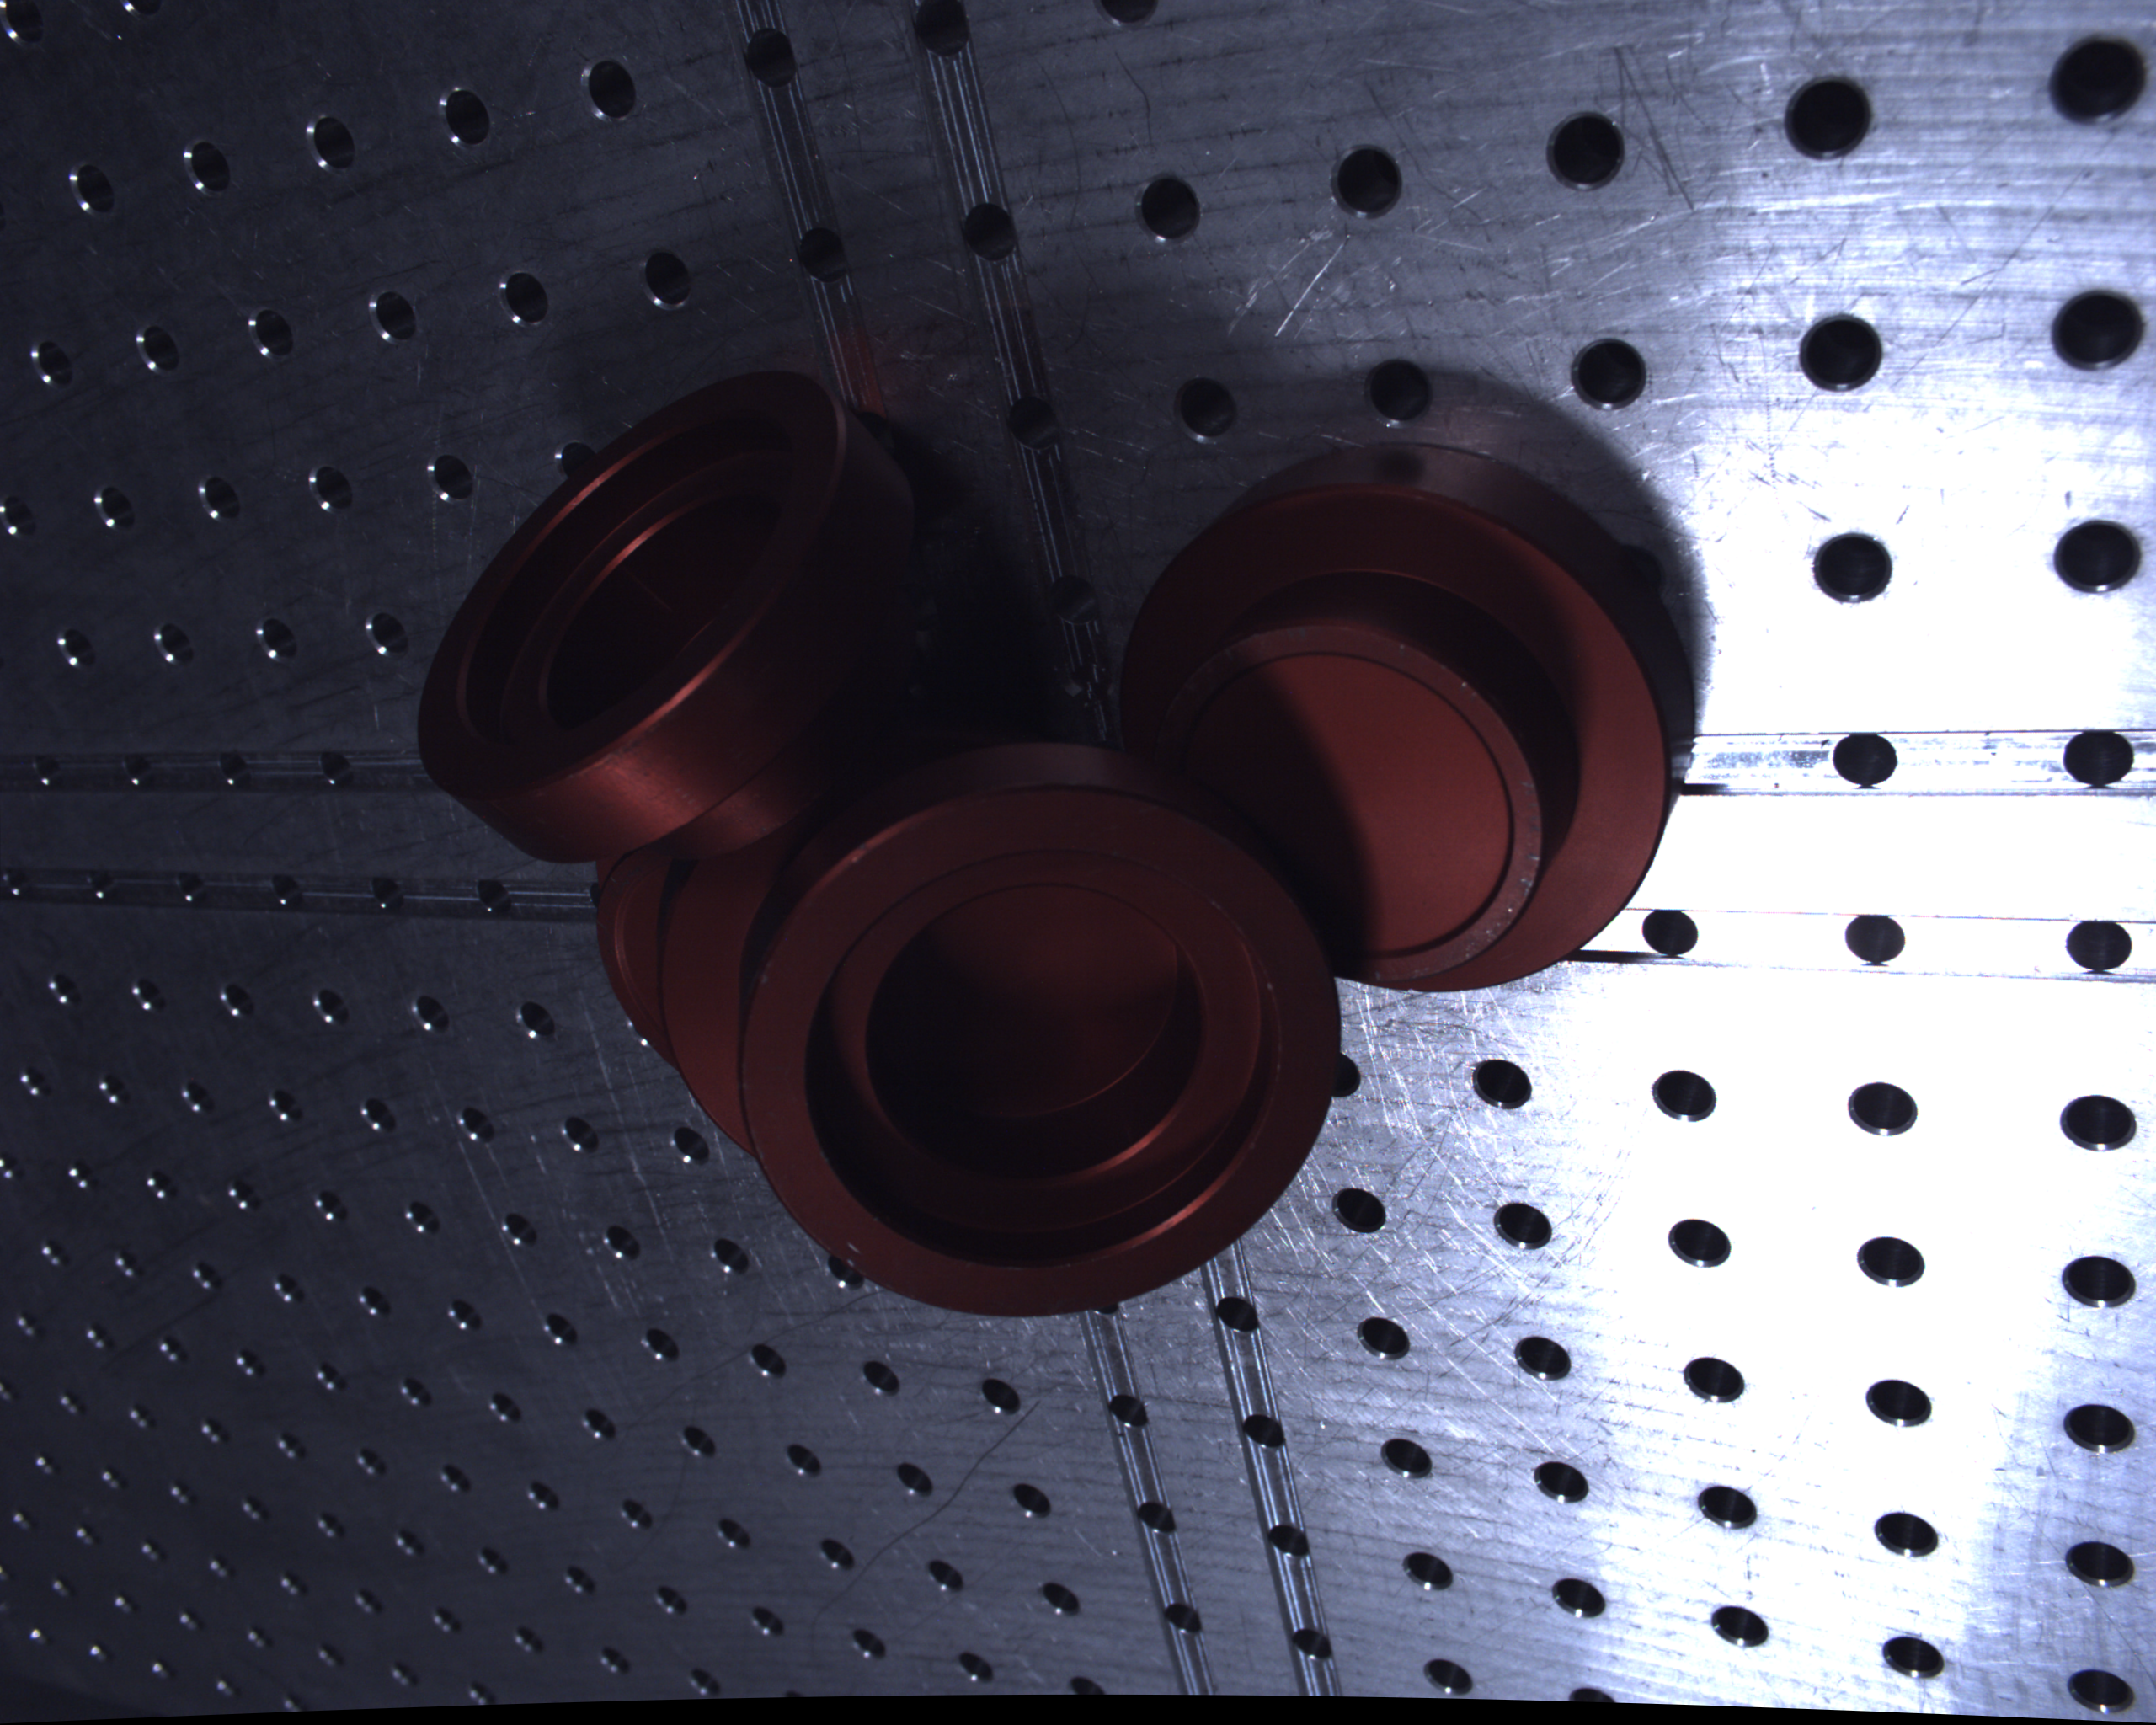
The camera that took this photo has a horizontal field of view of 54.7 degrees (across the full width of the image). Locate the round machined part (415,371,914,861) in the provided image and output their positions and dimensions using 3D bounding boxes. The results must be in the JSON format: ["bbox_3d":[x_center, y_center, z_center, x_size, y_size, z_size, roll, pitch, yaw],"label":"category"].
[{"bbox_3d":[-0.069,-0.040,0.381,0.098,0.098,0.042,-13,137,33],"label":"round machined part"}]

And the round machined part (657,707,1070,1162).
[{"bbox_3d":[-0.030,0.023,0.398,0.099,0.042,0.097,-4,110,-10],"label":"round machined part"}]

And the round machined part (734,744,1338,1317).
[{"bbox_3d":[-0.009,0.025,0.357,0.099,0.042,0.097,-3,113,-7],"label":"round machined part"}]

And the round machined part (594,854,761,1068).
[{"bbox_3d":[-0.061,0.014,0.440,0.098,0.042,0.097,13,124,20],"label":"round machined part"}]

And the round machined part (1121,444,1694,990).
[{"bbox_3d":[0.052,-0.019,0.360,0.098,0.042,0.097,13,124,20],"label":"round machined part"}]
